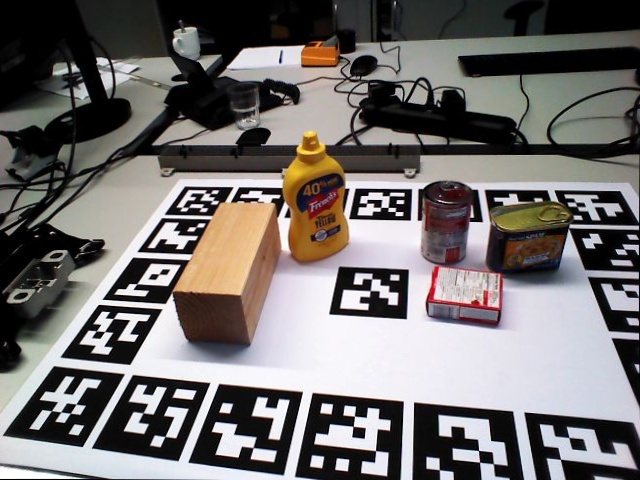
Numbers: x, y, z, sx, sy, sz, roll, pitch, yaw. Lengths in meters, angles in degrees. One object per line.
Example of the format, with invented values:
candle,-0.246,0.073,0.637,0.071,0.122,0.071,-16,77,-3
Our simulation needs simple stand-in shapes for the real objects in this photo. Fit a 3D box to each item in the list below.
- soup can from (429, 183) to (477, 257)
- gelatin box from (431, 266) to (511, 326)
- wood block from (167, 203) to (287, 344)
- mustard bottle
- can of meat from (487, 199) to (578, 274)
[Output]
soup can,0.189,-0.034,0.727,0.068,0.102,0.067,-5,37,4
gelatin box,0.192,0.068,0.656,0.090,0.030,0.073,6,40,22
wood block,-0.117,0.036,0.710,0.091,0.090,0.205,3,33,11
mustard bottle,-0.006,-0.061,0.744,0.096,0.192,0.058,-13,36,-10
can of meat,0.282,-0.004,0.700,0.102,0.084,0.057,-5,37,-1
